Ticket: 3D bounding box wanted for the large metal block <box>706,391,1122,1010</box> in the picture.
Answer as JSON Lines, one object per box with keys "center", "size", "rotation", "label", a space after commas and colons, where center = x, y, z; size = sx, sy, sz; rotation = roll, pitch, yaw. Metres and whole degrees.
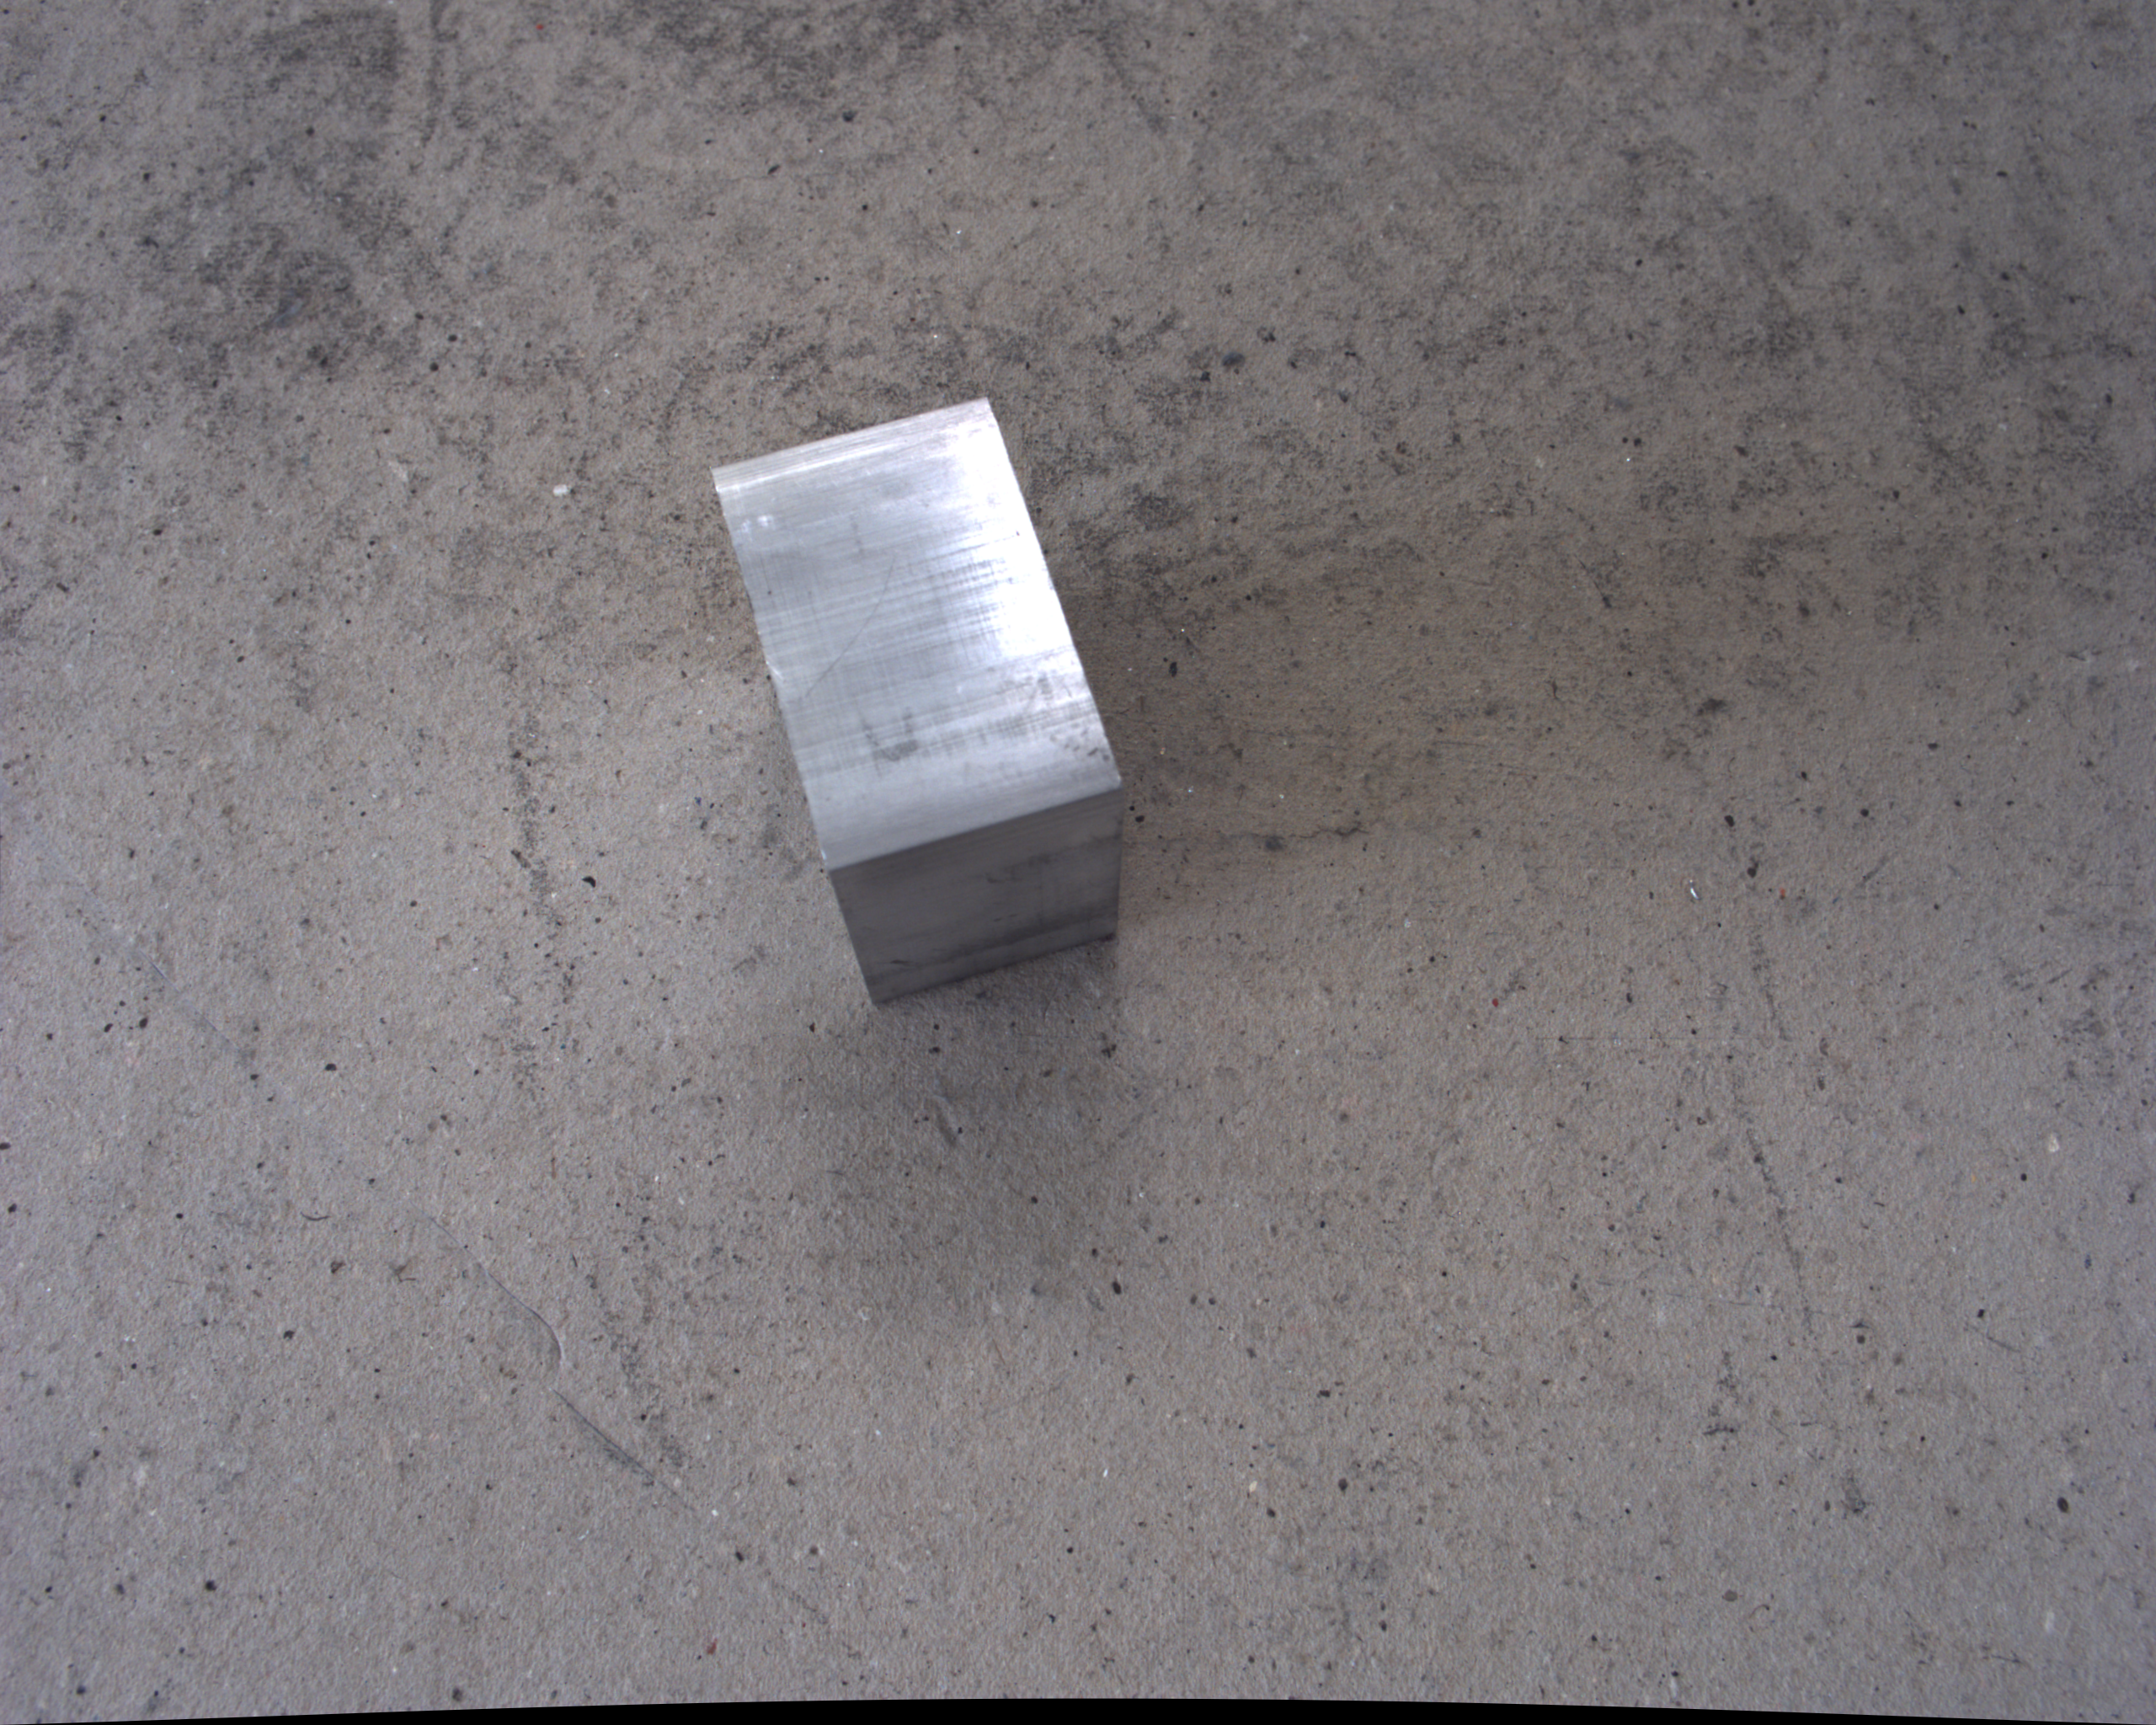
{"center": [-0.029, -0.027, 0.389], "size": [0.050, 0.080, 0.080], "rotation": [-16, 71, -6], "label": "large metal block"}
